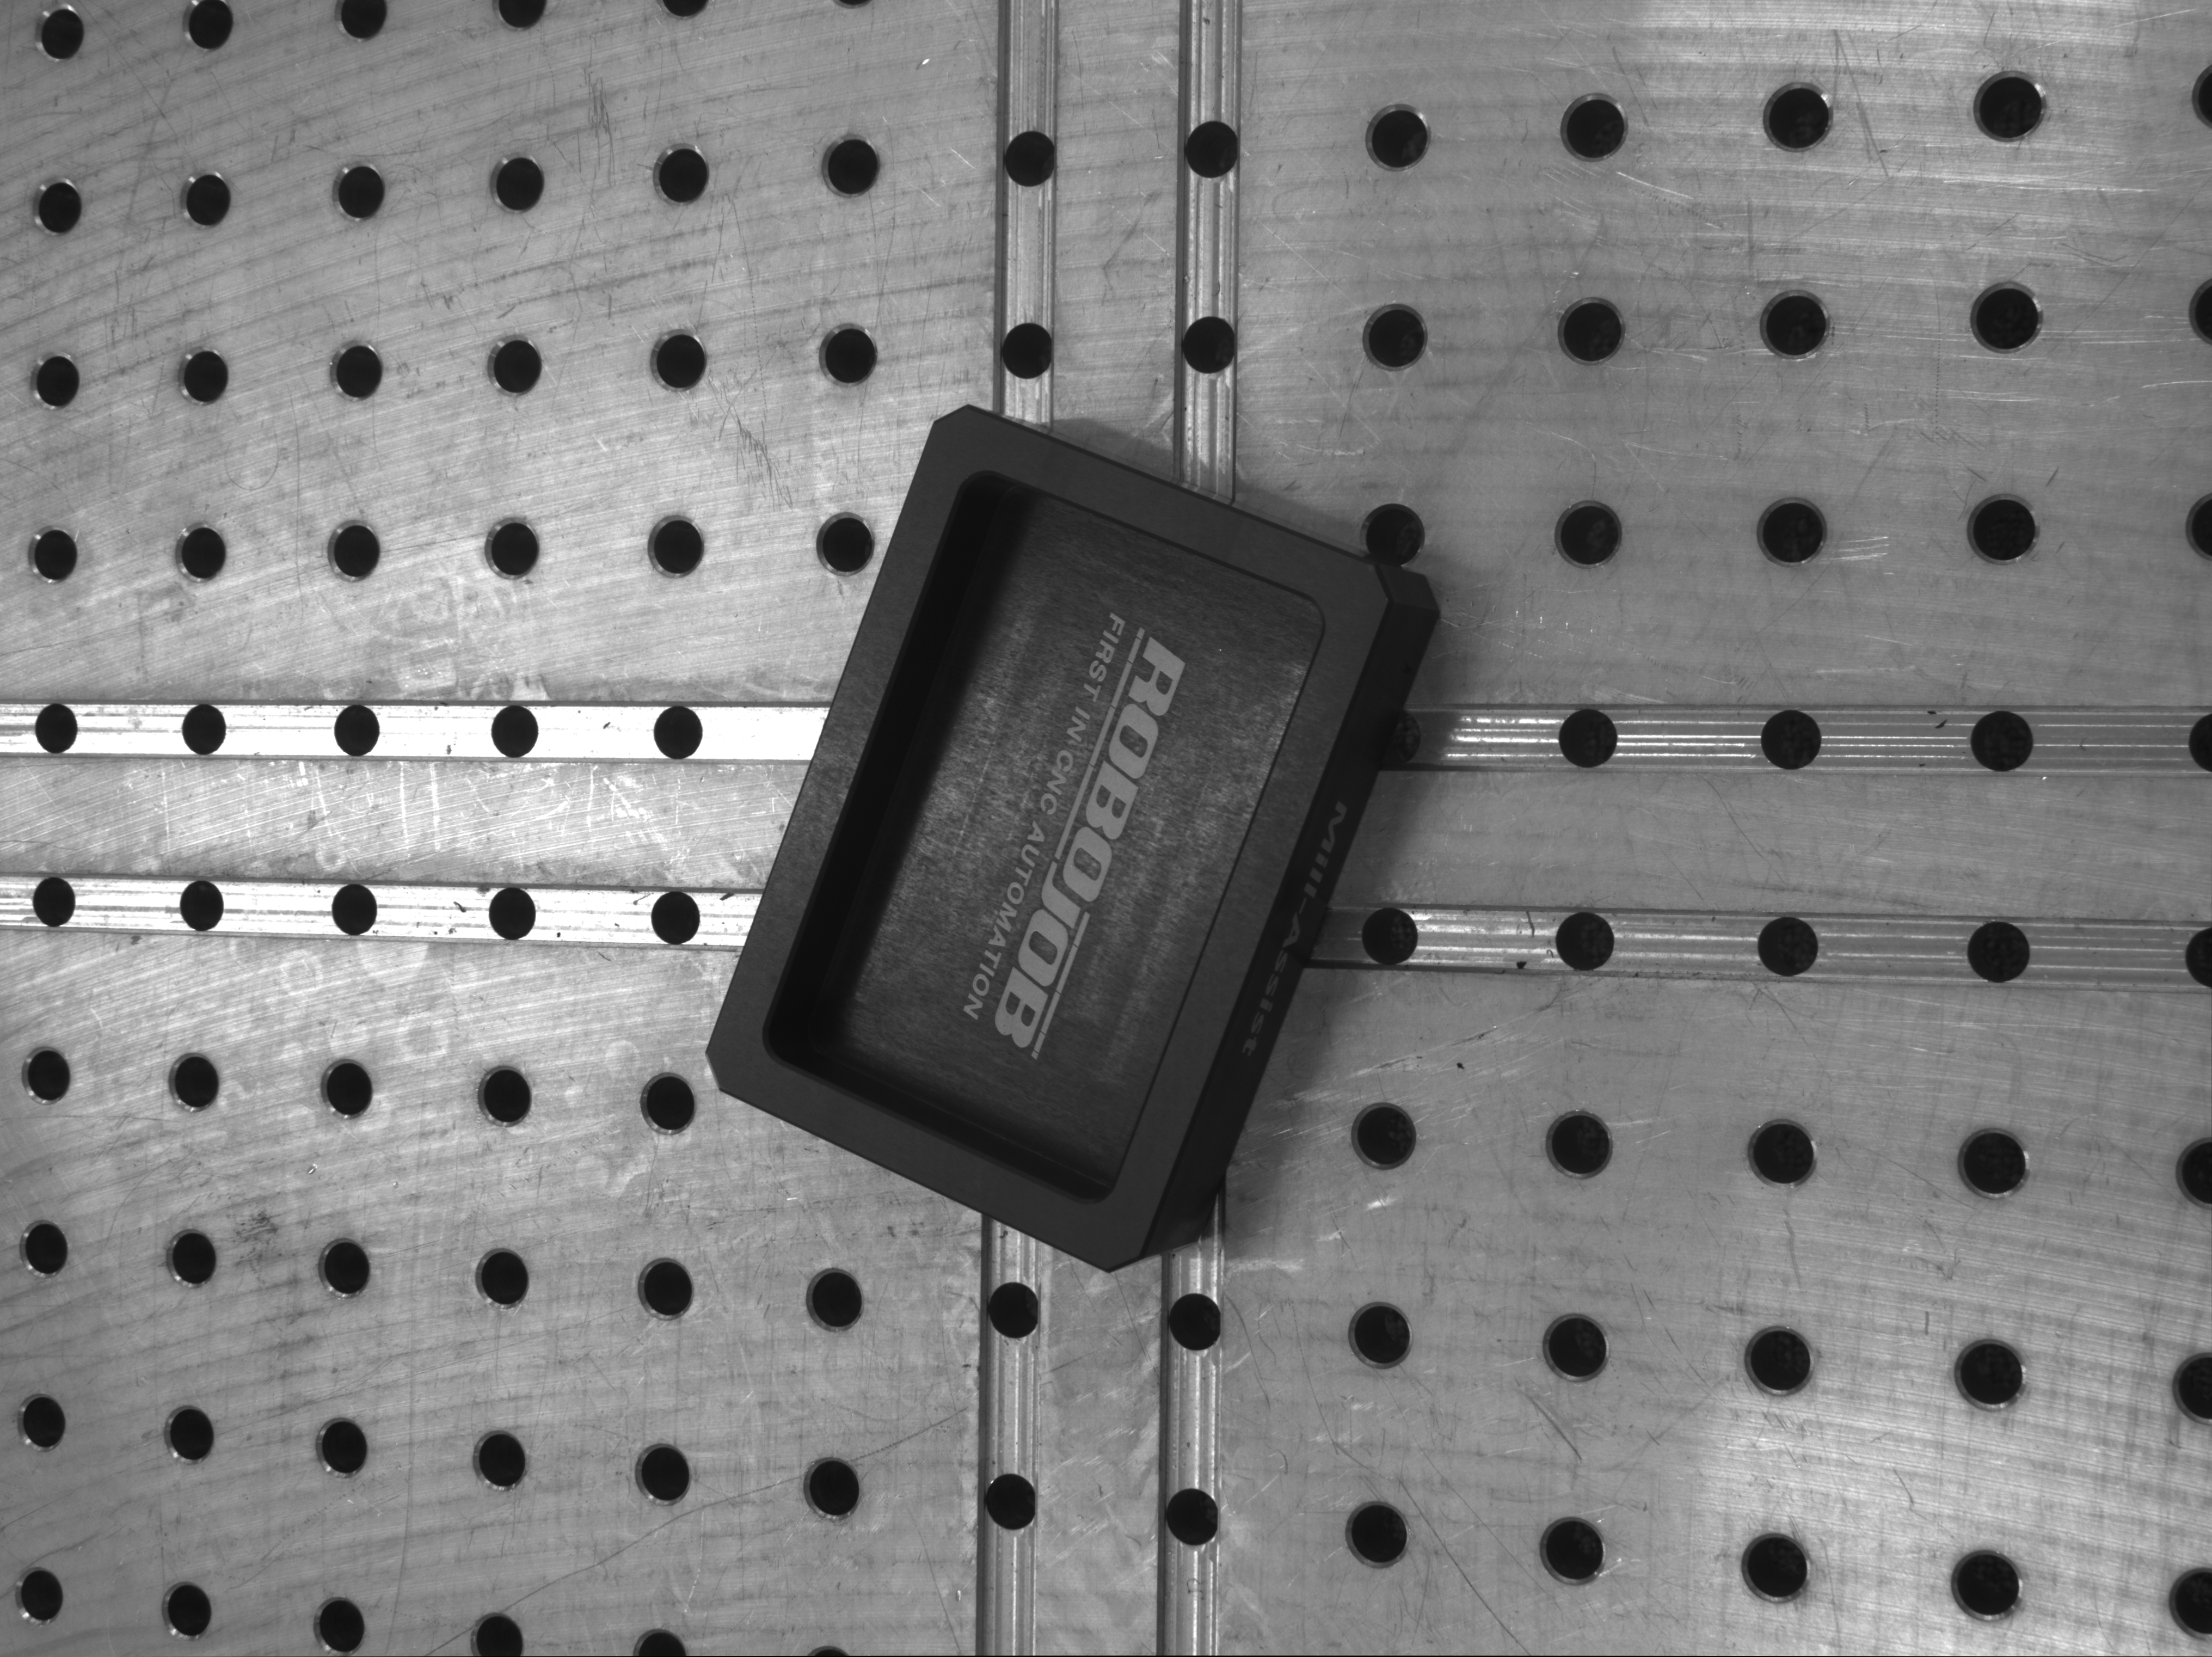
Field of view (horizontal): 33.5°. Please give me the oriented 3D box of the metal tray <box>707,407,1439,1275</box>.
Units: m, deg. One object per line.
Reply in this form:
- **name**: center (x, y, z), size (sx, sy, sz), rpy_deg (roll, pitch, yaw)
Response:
- **metal tray**: center (-0.007, 0.002, 0.649), size (0.090, 0.030, 0.130), rpy_deg (23, 98, 18)
